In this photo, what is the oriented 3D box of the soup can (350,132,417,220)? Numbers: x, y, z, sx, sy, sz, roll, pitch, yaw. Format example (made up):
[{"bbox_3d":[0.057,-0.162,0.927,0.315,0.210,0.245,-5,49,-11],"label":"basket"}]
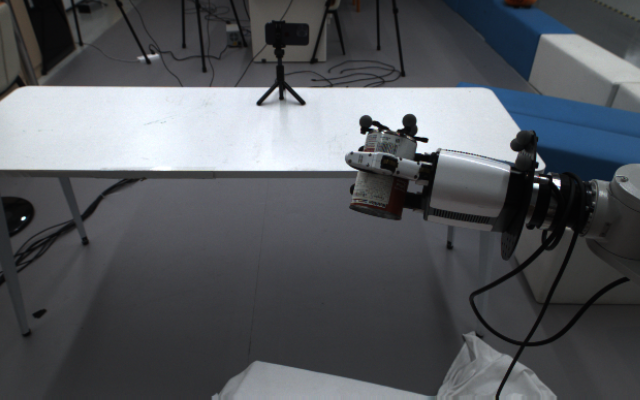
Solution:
[{"bbox_3d":[0.083,-0.031,0.620,0.067,0.101,0.067,13,-6,1],"label":"soup can"}]
